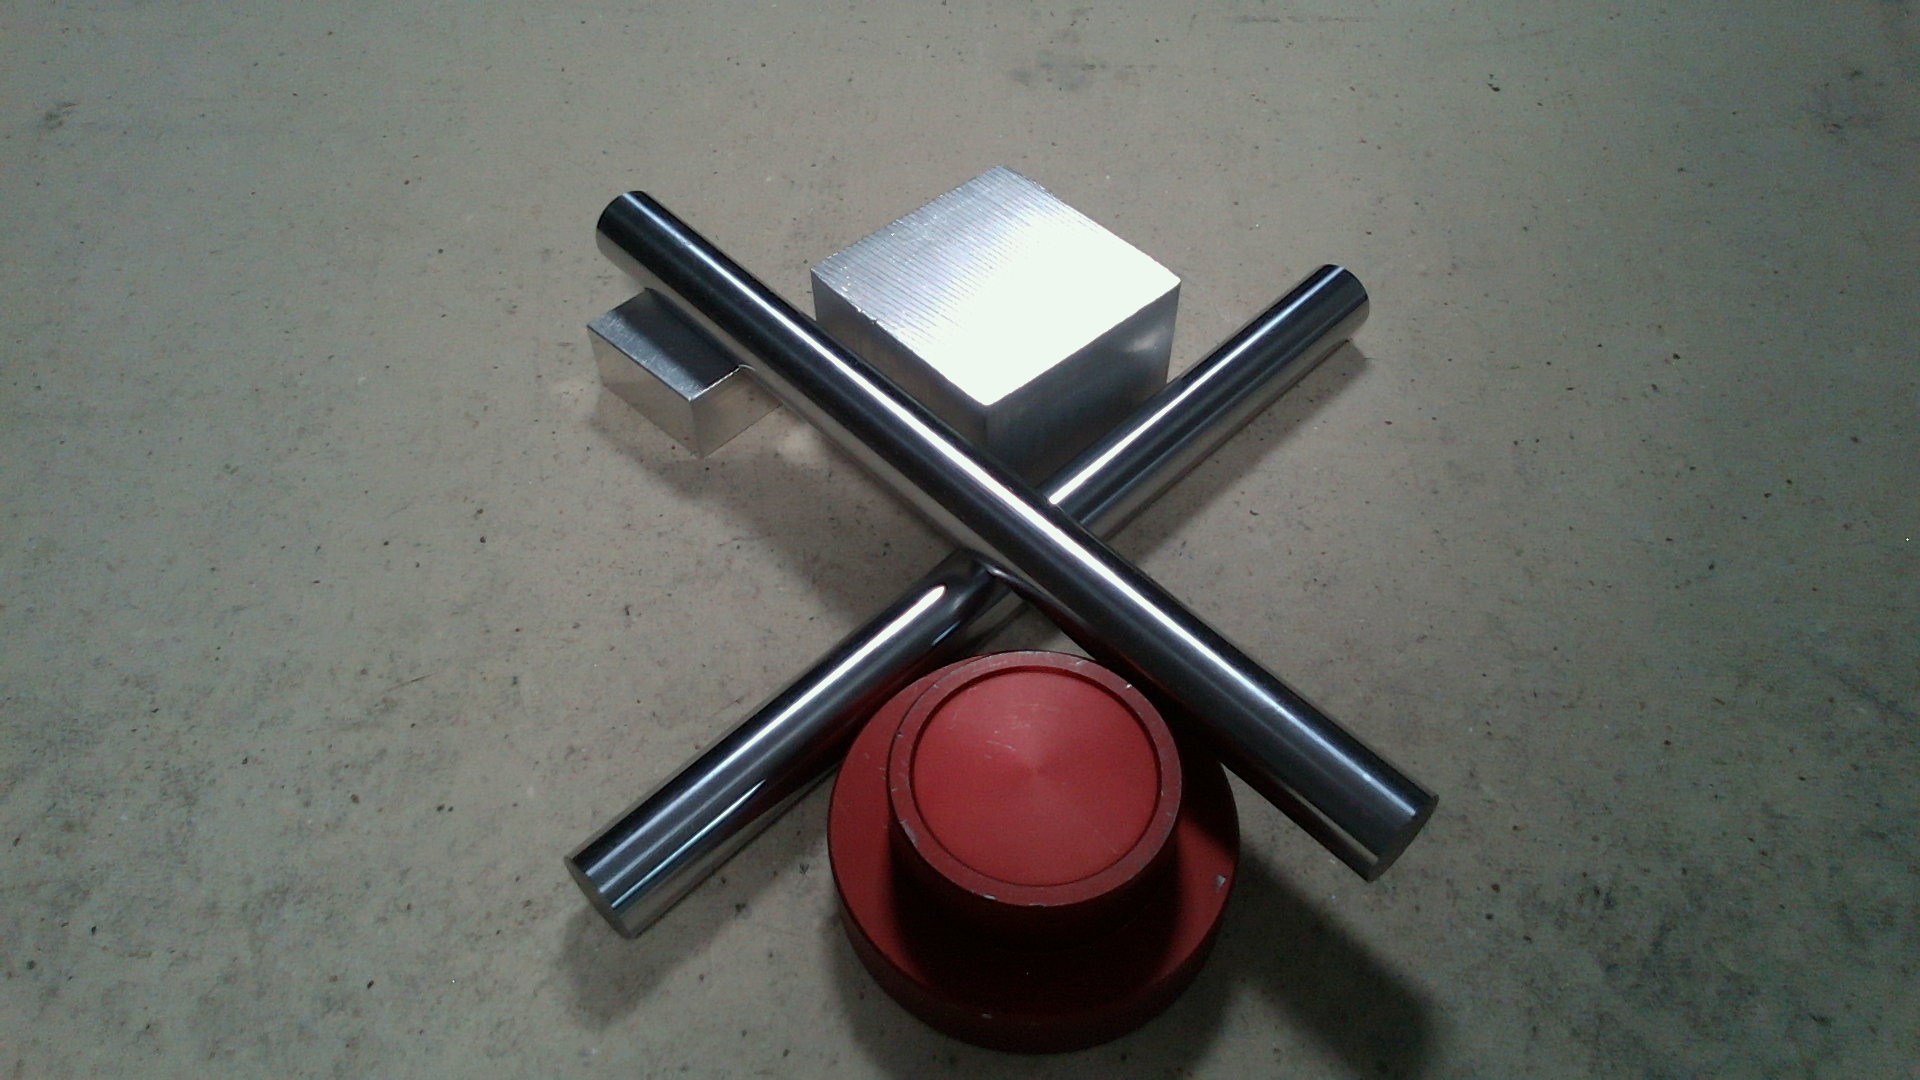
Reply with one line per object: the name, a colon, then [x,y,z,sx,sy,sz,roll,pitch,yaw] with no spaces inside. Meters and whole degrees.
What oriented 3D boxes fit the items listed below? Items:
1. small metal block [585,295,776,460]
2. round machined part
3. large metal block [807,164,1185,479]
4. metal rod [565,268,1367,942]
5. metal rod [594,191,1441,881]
small metal block: [-0.083,-0.060,0.444,0.050,0.025,0.050,35,58,26]
round machined part: [0.017,0.065,0.325,0.098,0.042,0.098,0,50,0]
large metal block: [0.011,-0.063,0.430,0.080,0.050,0.080,-34,58,-25]
metal rod: [0.020,0.002,0.392,0.025,0.025,0.301,37,59,27]
metal rod: [-0.004,-0.018,0.373,0.025,0.025,0.299,-36,59,-26]
